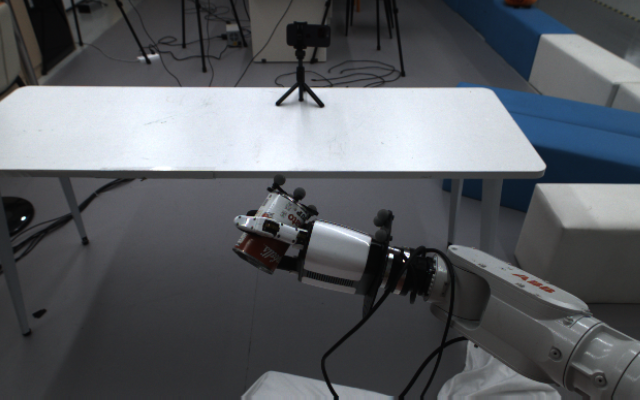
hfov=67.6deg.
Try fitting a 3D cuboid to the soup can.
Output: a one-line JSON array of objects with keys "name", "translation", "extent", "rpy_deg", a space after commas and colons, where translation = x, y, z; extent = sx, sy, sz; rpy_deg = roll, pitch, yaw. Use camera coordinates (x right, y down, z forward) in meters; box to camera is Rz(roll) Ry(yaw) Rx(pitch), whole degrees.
[{"name": "soup can", "translation": [-0.069, 0.046, 0.693], "extent": [0.067, 0.067, 0.101], "rpy_deg": [23, 72, 28]}]
